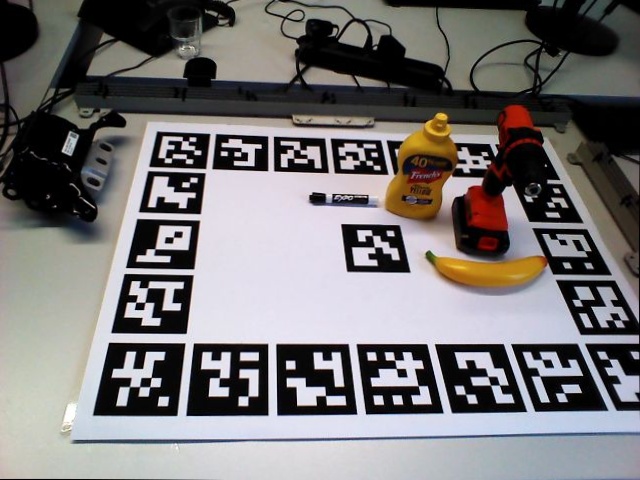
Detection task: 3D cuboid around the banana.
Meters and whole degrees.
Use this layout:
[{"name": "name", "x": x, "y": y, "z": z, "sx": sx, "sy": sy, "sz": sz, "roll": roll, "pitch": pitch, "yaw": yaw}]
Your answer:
[{"name": "banana", "x": 0.264, "y": 0.066, "z": 0.819, "sx": 0.198, "sy": 0.039, "sz": 0.074, "roll": 7, "pitch": 52, "yaw": 2}]

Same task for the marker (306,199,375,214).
[{"name": "marker", "x": 0.036, "y": -0.059, "z": 0.908, "sx": 0.121, "sy": 0.020, "sz": 0.019, "roll": 3, "pitch": 51, "yaw": -4}]

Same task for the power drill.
[{"name": "power drill", "x": 0.279, "y": -0.062, "z": 0.802, "sx": 0.057, "sy": 0.188, "sz": 0.183, "roll": 13, "pitch": 48, "yaw": 2}]

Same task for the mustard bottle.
[{"name": "mustard bottle", "x": 0.170, "y": -0.103, "z": 0.846, "sx": 0.096, "sy": 0.192, "sz": 0.058, "roll": 11, "pitch": 50, "yaw": 1}]
